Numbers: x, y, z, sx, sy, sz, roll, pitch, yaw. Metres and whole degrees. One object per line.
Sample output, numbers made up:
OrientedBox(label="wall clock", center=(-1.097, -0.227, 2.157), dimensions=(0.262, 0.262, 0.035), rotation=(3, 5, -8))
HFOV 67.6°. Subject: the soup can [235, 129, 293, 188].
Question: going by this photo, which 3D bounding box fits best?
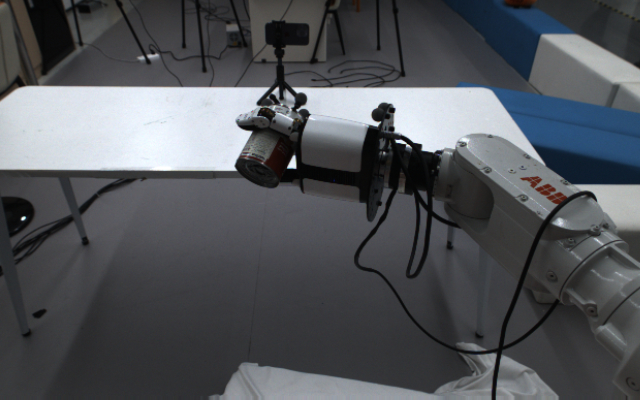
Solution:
OrientedBox(label="soup can", center=(-0.069, -0.078, 0.685), dimensions=(0.067, 0.067, 0.101), rotation=(15, 63, 19))
